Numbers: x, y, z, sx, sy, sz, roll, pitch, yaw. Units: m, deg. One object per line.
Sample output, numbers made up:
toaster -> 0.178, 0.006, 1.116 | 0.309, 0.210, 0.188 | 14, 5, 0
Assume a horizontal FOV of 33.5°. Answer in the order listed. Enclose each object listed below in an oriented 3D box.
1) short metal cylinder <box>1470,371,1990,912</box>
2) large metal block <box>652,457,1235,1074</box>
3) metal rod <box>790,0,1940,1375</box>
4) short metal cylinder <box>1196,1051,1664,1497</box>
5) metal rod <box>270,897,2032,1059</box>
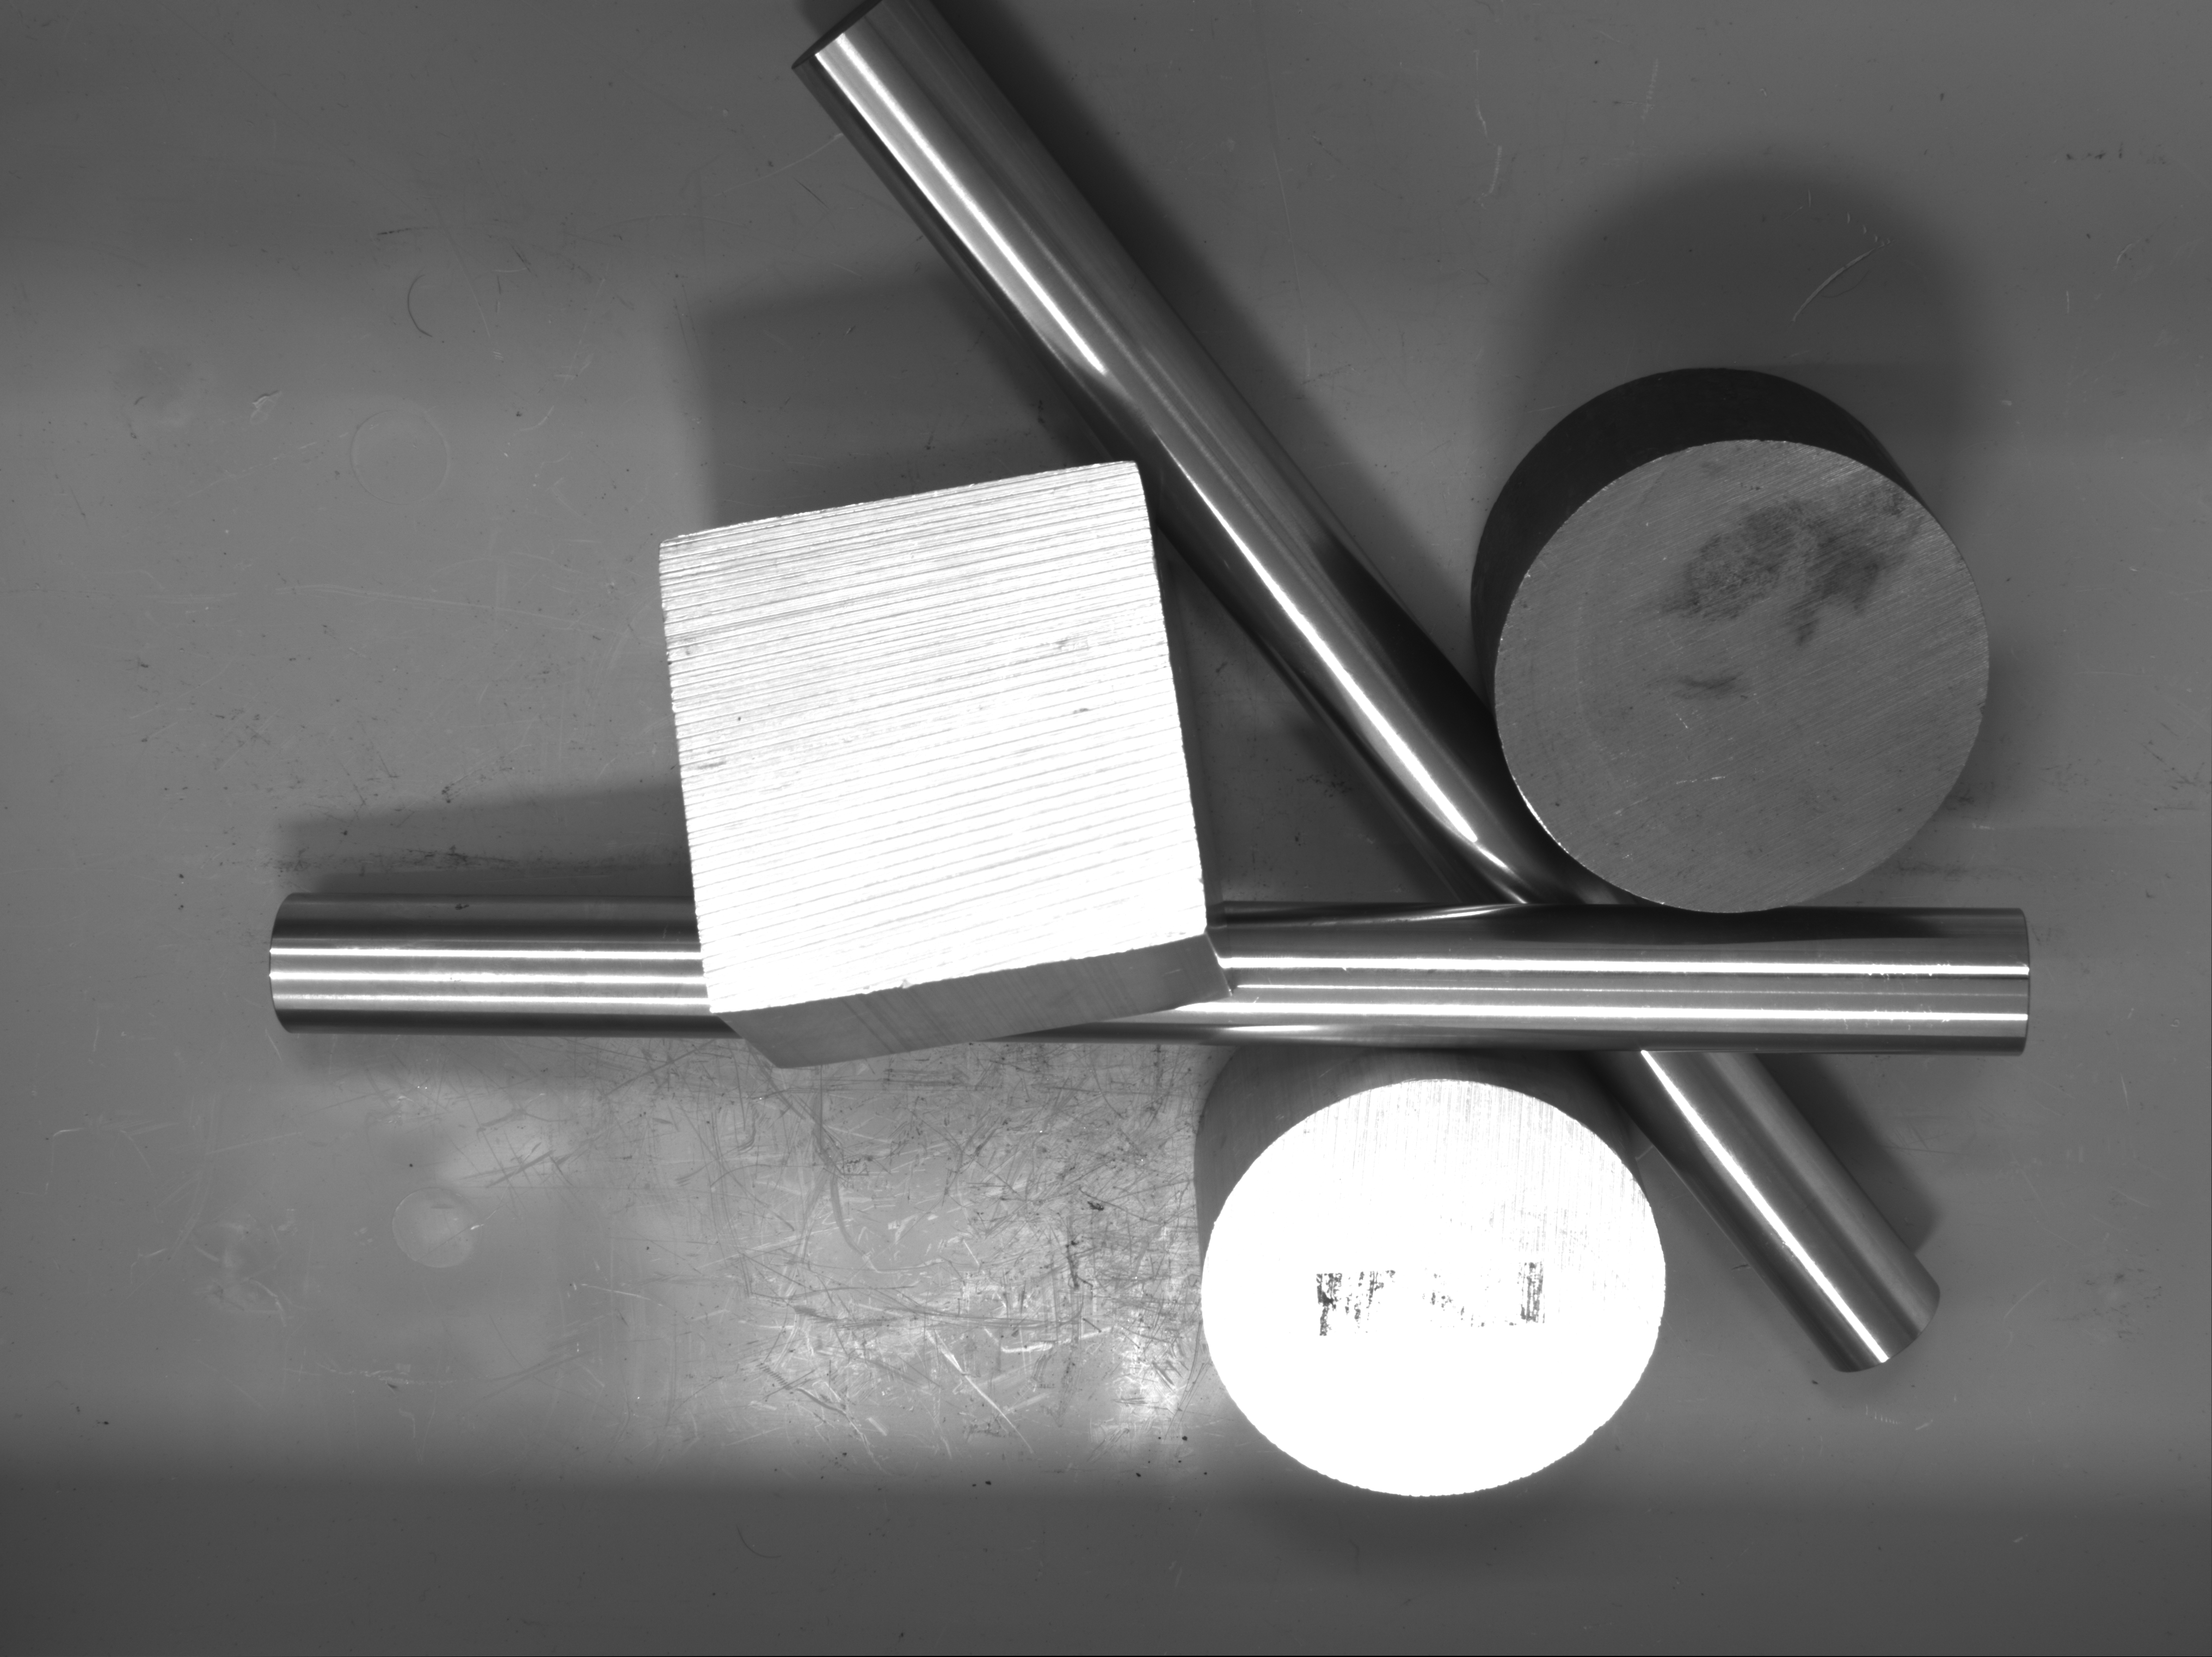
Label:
short metal cylinder -> 0.103, -0.032, 0.618 | 0.080, 0.050, 0.080 | 0, 110, 0
large metal block -> -0.026, -0.009, 0.607 | 0.080, 0.050, 0.080 | -9, 75, 4
metal rod -> 0.051, -0.020, 0.636 | 0.025, 0.025, 0.300 | -36, 106, 12
short metal cylinder -> 0.056, 0.071, 0.656 | 0.080, 0.050, 0.080 | 0, 110, 0
metal rod -> 0.005, 0.025, 0.634 | 0.300, 0.025, 0.025 | 0, 110, 6
